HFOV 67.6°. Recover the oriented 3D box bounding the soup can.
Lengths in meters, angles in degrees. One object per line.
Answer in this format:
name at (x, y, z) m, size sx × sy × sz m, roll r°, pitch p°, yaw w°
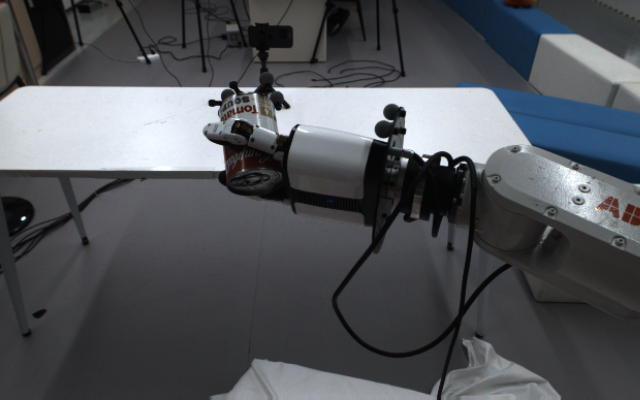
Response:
soup can at (-0.077, -0.064, 0.562) m, size 0.067 × 0.067 × 0.101 m, roll -6°, pitch 67°, yaw -12°
